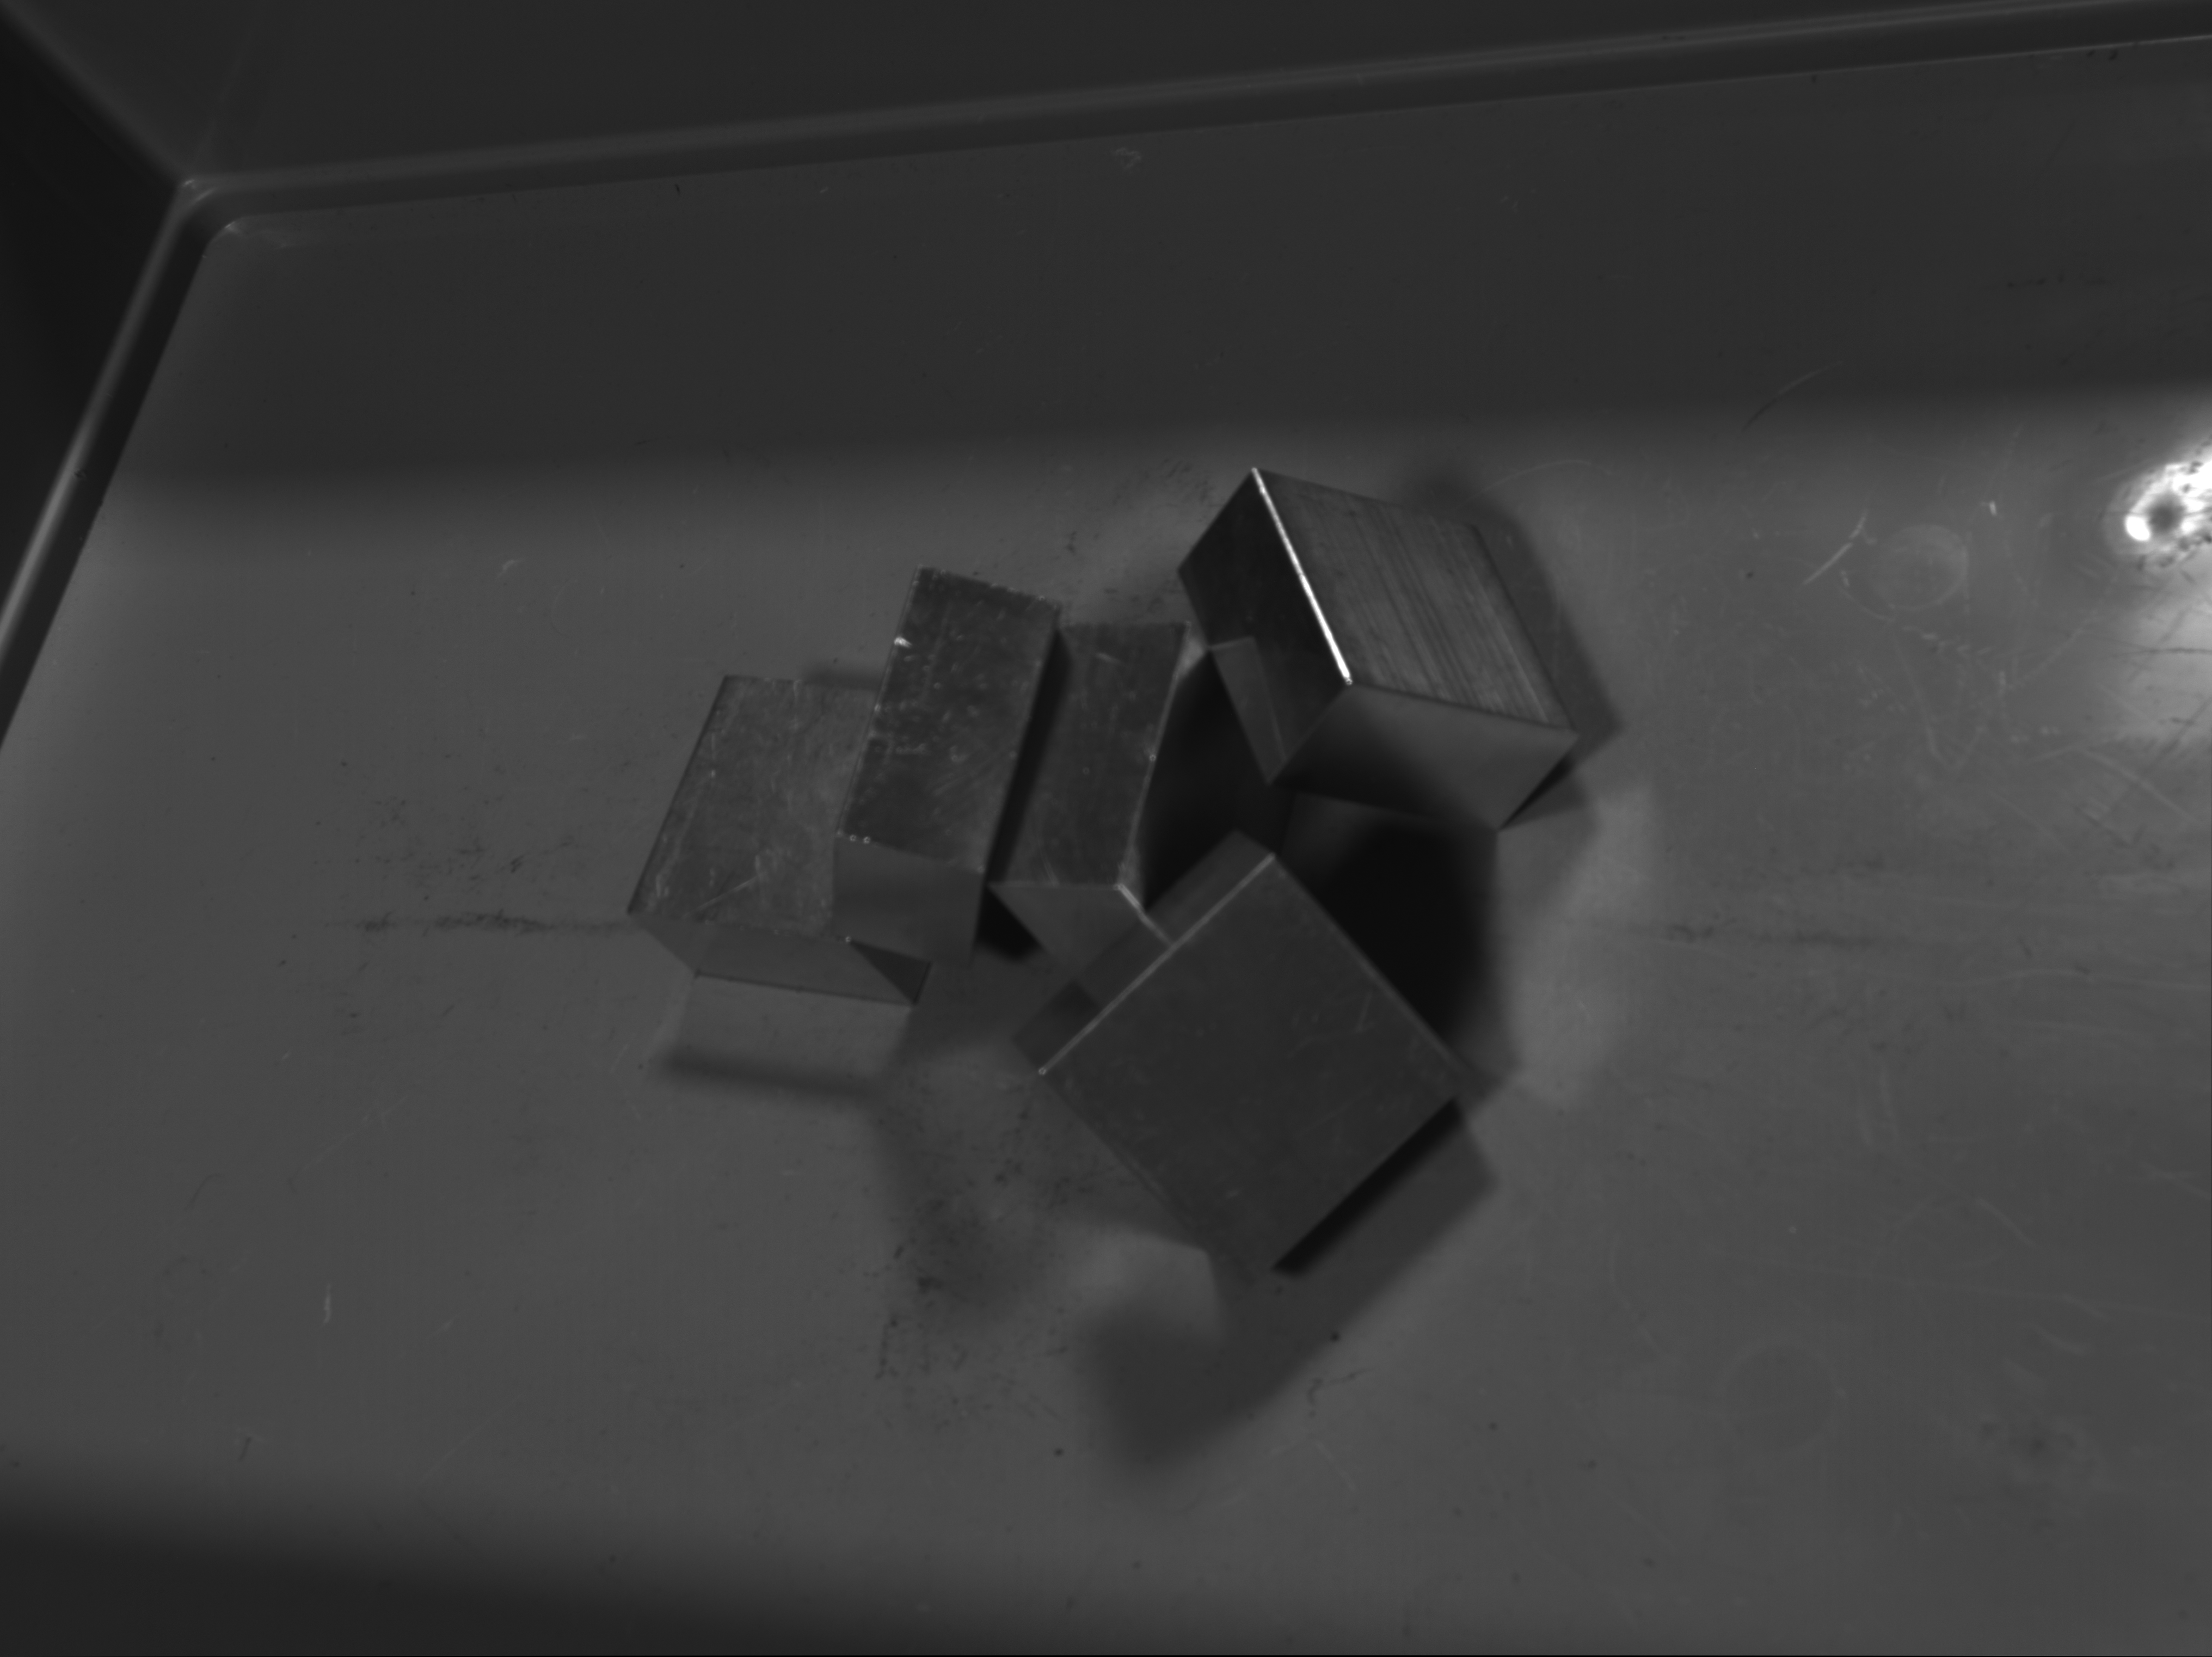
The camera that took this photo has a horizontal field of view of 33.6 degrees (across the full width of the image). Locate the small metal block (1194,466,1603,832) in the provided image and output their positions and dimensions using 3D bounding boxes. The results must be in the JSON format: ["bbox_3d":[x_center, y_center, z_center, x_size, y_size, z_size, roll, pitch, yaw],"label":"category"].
[{"bbox_3d":[0.049,-0.030,0.615,0.025,0.050,0.050,-52,43,34],"label":"small metal block"}]

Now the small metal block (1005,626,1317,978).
[{"bbox_3d":[0.011,0.000,0.621,0.025,0.050,0.050,1,62,29],"label":"small metal block"}]

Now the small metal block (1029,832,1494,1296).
[{"bbox_3d":[0.025,0.037,0.587,0.050,0.050,0.025,-43,16,-2],"label":"small metal block"}]

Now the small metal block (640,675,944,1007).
[{"bbox_3d":[-0.050,0.002,0.667,0.050,0.025,0.050,7,65,31],"label":"small metal block"}]

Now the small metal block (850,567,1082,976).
[{"bbox_3d":[-0.024,-0.009,0.622,0.025,0.050,0.050,15,69,1],"label":"small metal block"}]
